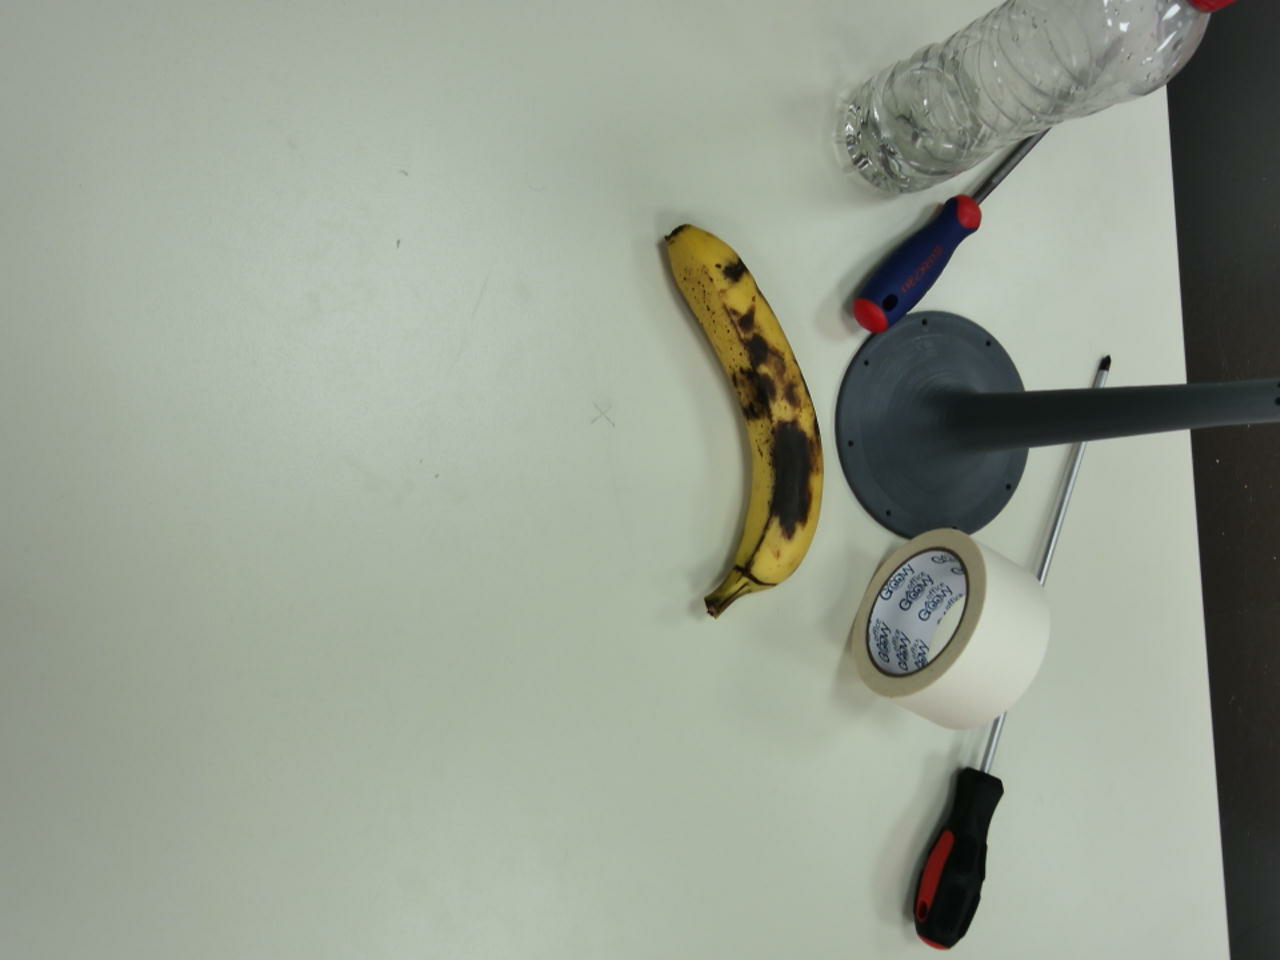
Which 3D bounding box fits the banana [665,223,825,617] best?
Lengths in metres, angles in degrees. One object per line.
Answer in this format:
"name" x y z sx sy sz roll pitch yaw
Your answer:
"banana" 0.066 -0.036 0.576 0.084 0.038 0.222 -5 93 -21
